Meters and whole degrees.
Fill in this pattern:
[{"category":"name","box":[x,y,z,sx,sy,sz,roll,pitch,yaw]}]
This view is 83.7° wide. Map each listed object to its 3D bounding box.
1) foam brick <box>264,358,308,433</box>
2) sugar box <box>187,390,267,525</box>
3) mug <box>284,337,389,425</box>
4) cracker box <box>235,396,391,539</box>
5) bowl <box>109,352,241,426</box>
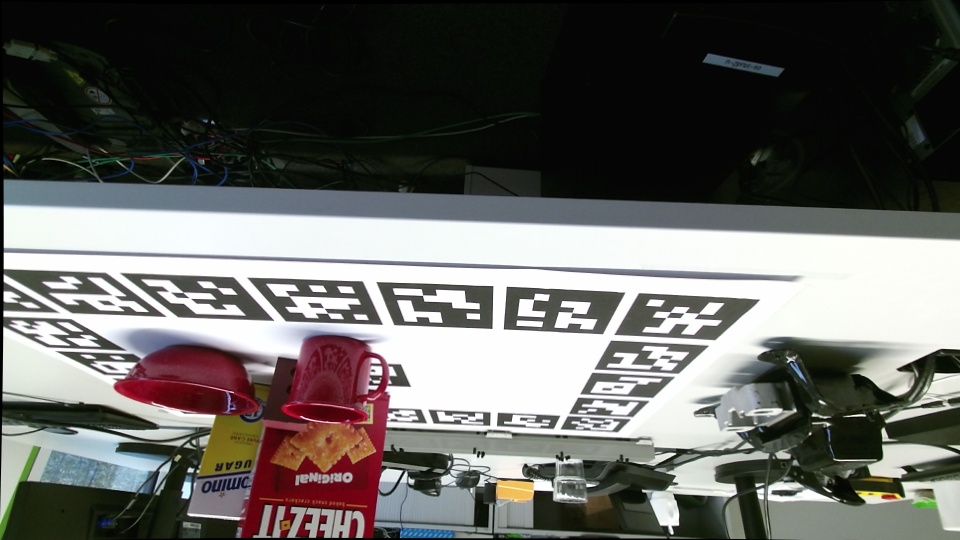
[{"category":"foam brick","box":[-0.236,0.157,0.669,0.053,0.077,0.051,9,150,-12]},{"category":"sugar box","box":[-0.331,0.258,0.744,0.093,0.175,0.045,12,149,-17]},{"category":"mug","box":[-0.155,0.121,0.580,0.117,0.081,0.093,-4,157,9]},{"category":"cracker box","box":[-0.221,0.269,0.720,0.165,0.212,0.072,18,149,-23]},{"category":"bowl","box":[-0.359,0.141,0.644,0.162,0.055,0.162,2,149,1]}]
